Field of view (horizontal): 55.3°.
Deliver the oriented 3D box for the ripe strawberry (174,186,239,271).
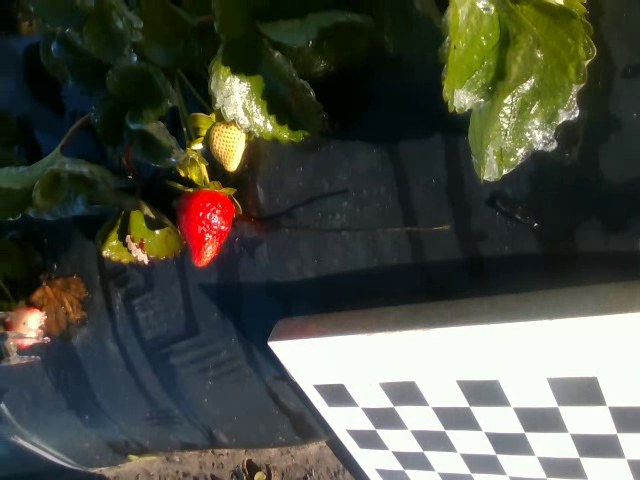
[{"bbox_3d":[-0.055,-0.003,0.290,0.040,0.039,0.039,24,-24,-37],"label":"ripe strawberry"}]
